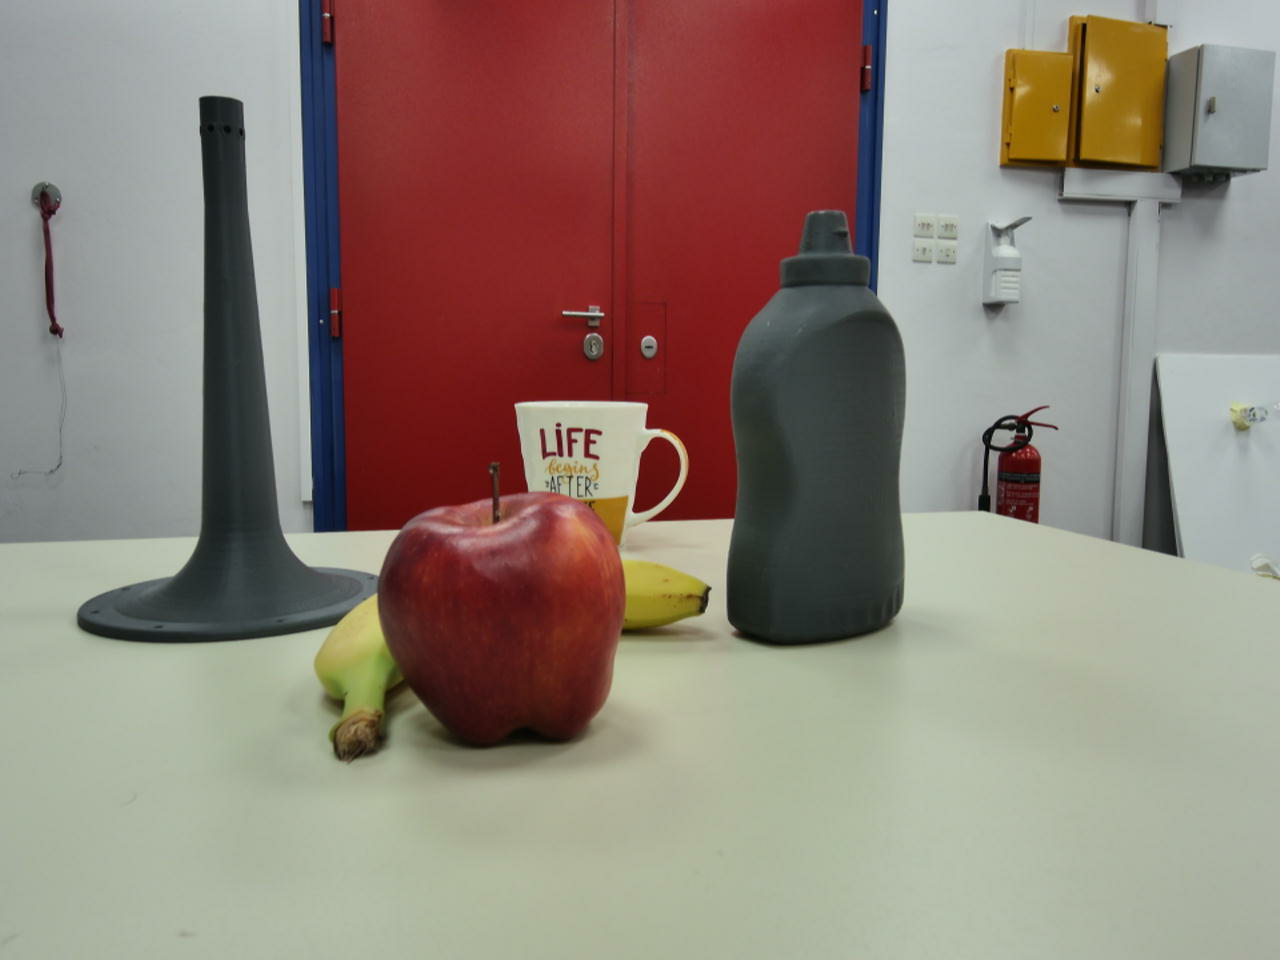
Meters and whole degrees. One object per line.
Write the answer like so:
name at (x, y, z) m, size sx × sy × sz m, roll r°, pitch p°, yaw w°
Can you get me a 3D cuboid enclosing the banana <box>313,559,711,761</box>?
banana at (-0.061, 0.059, 0.411) m, size 0.094 × 0.041 × 0.196 m, roll 3°, pitch 5°, yaw 41°
